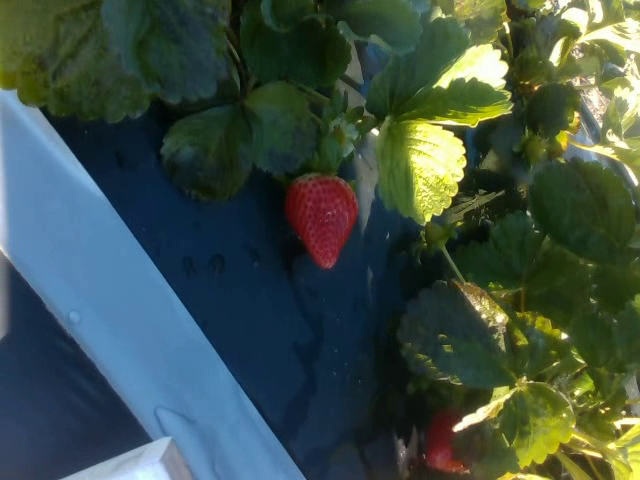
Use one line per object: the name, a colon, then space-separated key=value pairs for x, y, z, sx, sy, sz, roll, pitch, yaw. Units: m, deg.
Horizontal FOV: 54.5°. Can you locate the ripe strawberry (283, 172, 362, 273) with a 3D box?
ripe strawberry: x=0.002 y=-0.009 z=0.315 sx=0.046 sy=0.059 sz=0.042 roll=4 pitch=-13 yaw=-1
